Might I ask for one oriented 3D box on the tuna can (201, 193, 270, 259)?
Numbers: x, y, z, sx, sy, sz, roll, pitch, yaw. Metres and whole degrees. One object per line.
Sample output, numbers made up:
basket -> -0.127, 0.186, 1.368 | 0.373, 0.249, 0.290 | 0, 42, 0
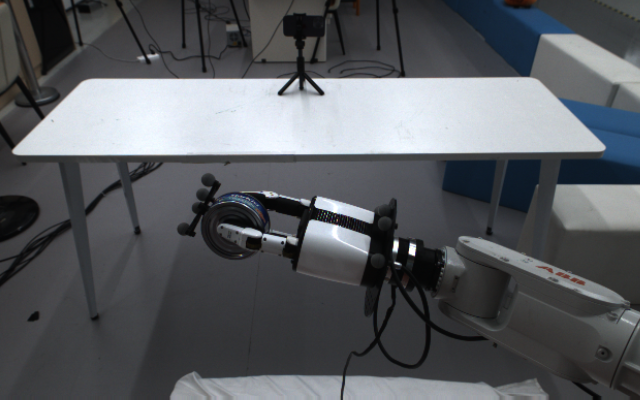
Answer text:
tuna can -> -0.107, 0.039, 0.631 | 0.085, 0.085, 0.034 | 4, 21, 2
